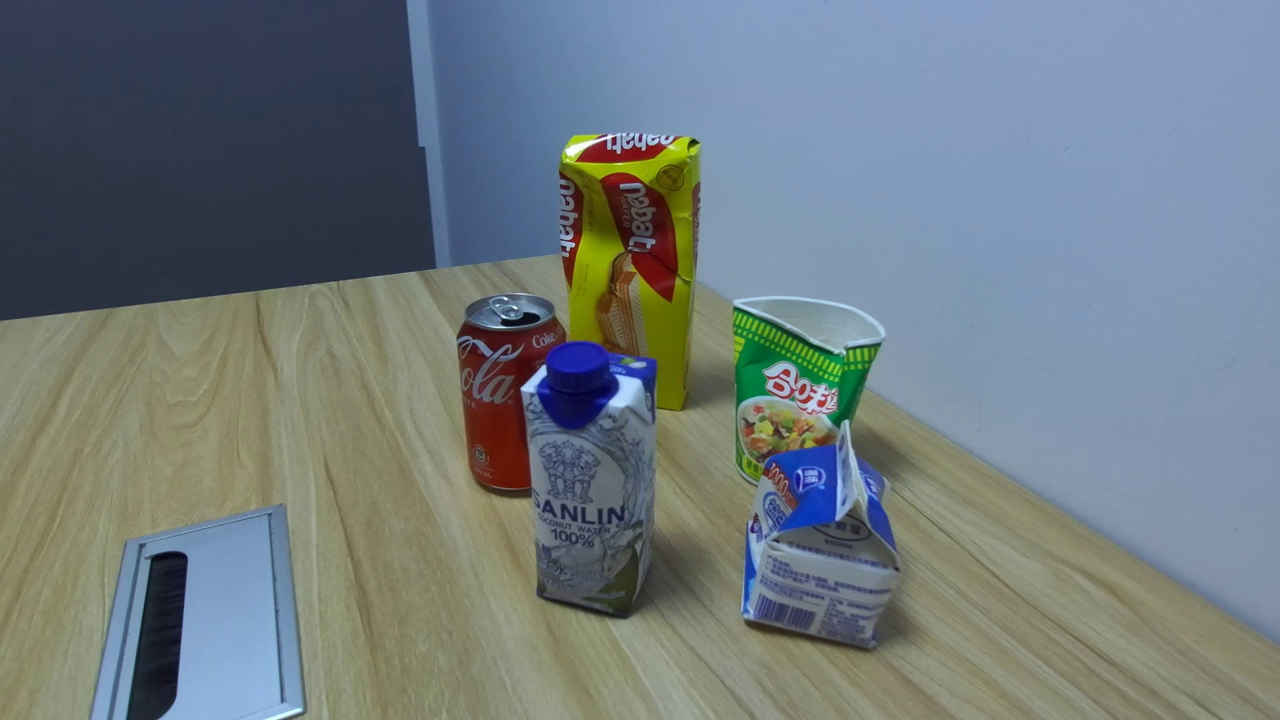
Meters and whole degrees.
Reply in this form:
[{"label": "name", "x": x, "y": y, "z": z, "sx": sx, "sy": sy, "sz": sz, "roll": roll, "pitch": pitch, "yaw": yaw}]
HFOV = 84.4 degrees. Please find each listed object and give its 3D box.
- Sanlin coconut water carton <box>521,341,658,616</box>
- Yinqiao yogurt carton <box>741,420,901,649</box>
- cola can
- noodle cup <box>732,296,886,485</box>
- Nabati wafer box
[{"label": "Sanlin coconut water carton", "x": -0.023, "y": 0.056, "z": 0.358, "sx": 0.060, "sy": 0.144, "sz": 0.061, "roll": 8, "pitch": 26, "yaw": 16}, {"label": "Yinqiao yogurt carton", "x": 0.096, "y": 0.085, "z": 0.363, "sx": 0.071, "sy": 0.094, "sz": 0.077, "roll": 11, "pitch": 28, "yaw": 6}, {"label": "cola can", "x": -0.080, "y": 0.020, "z": 0.456, "sx": 0.068, "sy": 0.120, "sz": 0.068, "roll": 1, "pitch": 28, "yaw": 0}, {"label": "noodle cup", "x": 0.105, "y": 0.024, "z": 0.466, "sx": 0.075, "sy": 0.122, "sz": 0.082, "roll": 0, "pitch": 17, "yaw": -22}, {"label": "Nabati wafer box", "x": -0.010, "y": -0.064, "z": 0.529, "sx": 0.106, "sy": 0.204, "sz": 0.042, "roll": 8, "pitch": 29, "yaw": 11}]
